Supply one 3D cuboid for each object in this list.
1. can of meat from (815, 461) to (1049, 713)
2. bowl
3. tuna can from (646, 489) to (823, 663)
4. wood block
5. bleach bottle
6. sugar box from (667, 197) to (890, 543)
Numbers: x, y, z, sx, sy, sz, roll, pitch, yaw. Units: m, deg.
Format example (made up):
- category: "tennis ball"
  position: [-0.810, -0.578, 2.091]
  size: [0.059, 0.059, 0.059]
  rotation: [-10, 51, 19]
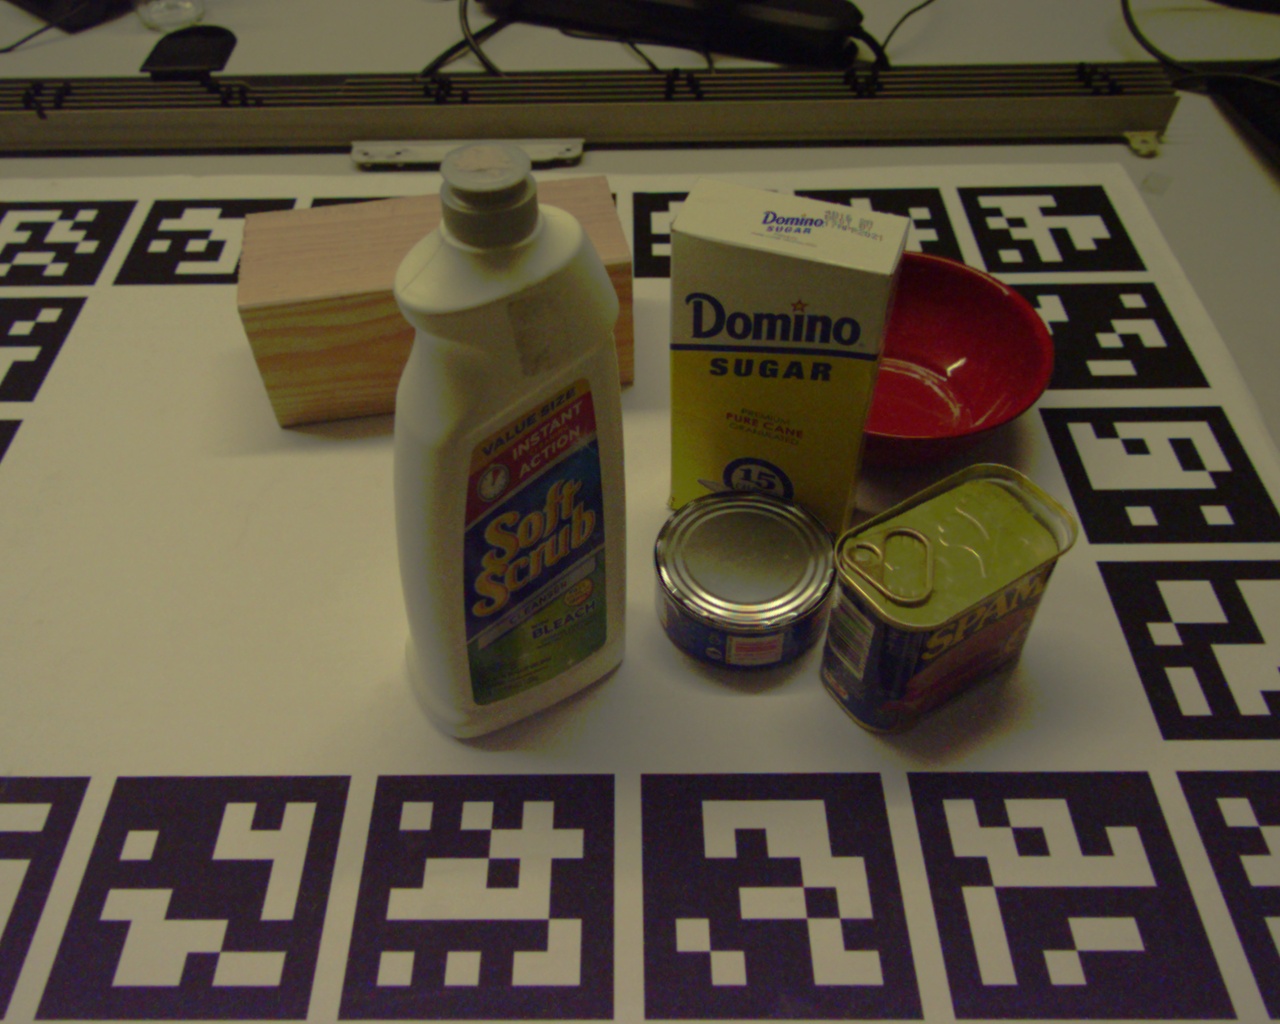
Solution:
- category: "can of meat"
  position: [0.132, 0.036, 0.533]
  size: [0.101, 0.083, 0.058]
  rotation: [-24, 48, -21]
- category: "bowl"
  position: [0.144, -0.082, 0.656]
  size: [0.162, 0.055, 0.162]
  rotation: [-4, 47, 3]
- category: "tuna can"
  position: [0.046, 0.032, 0.565]
  size: [0.086, 0.033, 0.086]
  rotation: [-2, 50, 1]
- category: "wood block"
  position: [-0.115, -0.119, 0.680]
  size: [0.205, 0.089, 0.091]
  rotation: [-8, 52, -7]
- category: "bleach bottle"
  position: [-0.054, -0.019, 0.473]
  size: [0.102, 0.249, 0.068]
  rotation: [-21, 49, -17]
- category: "sugar box"
  position: [0.066, -0.062, 0.555]
  size: [0.093, 0.175, 0.045]
  rotation: [13, 51, 17]
